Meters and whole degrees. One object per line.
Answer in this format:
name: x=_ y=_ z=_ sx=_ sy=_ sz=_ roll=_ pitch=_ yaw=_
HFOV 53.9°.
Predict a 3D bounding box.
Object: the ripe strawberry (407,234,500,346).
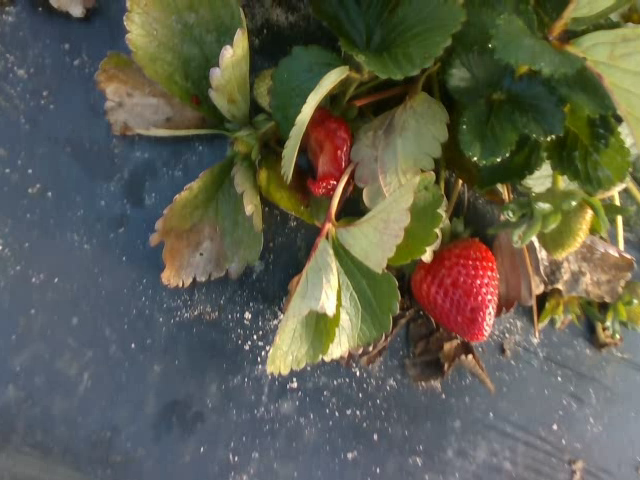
ripe strawberry: x=0.041 y=0.017 z=0.188 sx=0.031 sy=0.030 sz=0.026 roll=-17 pitch=-16 yaw=1
